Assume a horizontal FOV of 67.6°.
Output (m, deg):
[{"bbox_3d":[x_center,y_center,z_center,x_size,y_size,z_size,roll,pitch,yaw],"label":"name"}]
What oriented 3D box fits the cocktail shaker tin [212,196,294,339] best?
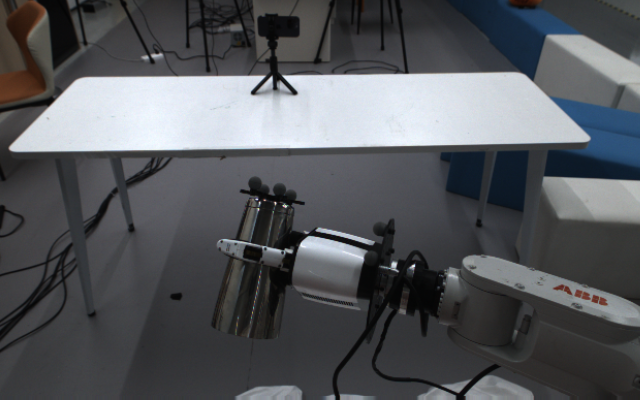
[{"bbox_3d":[-0.081,0.088,0.642,0.093,0.170,0.093,11,-5,1],"label":"cocktail shaker tin"}]
